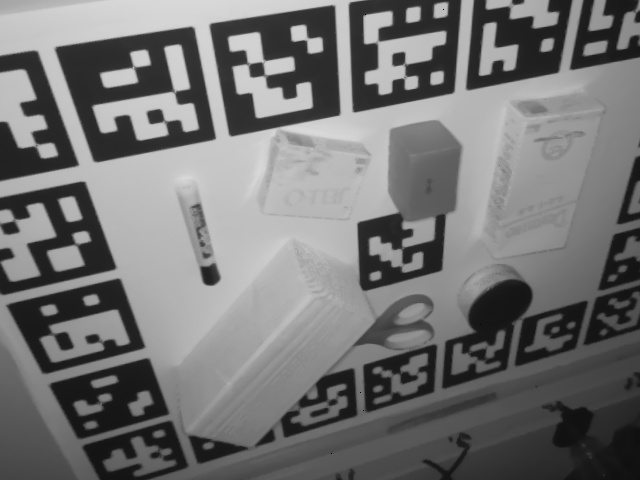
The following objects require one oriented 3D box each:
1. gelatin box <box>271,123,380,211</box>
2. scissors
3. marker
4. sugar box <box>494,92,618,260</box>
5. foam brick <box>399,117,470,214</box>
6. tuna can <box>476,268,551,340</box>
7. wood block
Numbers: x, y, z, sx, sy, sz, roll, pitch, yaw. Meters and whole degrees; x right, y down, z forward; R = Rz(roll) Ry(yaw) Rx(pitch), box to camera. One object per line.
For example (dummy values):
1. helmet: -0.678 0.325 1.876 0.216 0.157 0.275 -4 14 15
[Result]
1. gelatin box: 0.005 -0.067 0.658 0.090 0.030 0.072 4 121 -22
2. scissors: 0.062 0.112 0.809 0.205 0.016 0.087 -7 125 -18
3. marker: -0.099 -0.014 0.661 0.020 0.019 0.120 -11 123 -12
4. sugar box: 0.247 -0.065 0.738 0.094 0.045 0.175 -8 125 -13
5. foam brick: 0.109 -0.073 0.673 0.053 0.051 0.077 -11 125 -12
6. tuna can: 0.232 0.076 0.831 0.086 0.034 0.085 -10 125 -13
7. wood block: -0.046 0.104 0.722 0.091 0.091 0.204 30 110 -33
